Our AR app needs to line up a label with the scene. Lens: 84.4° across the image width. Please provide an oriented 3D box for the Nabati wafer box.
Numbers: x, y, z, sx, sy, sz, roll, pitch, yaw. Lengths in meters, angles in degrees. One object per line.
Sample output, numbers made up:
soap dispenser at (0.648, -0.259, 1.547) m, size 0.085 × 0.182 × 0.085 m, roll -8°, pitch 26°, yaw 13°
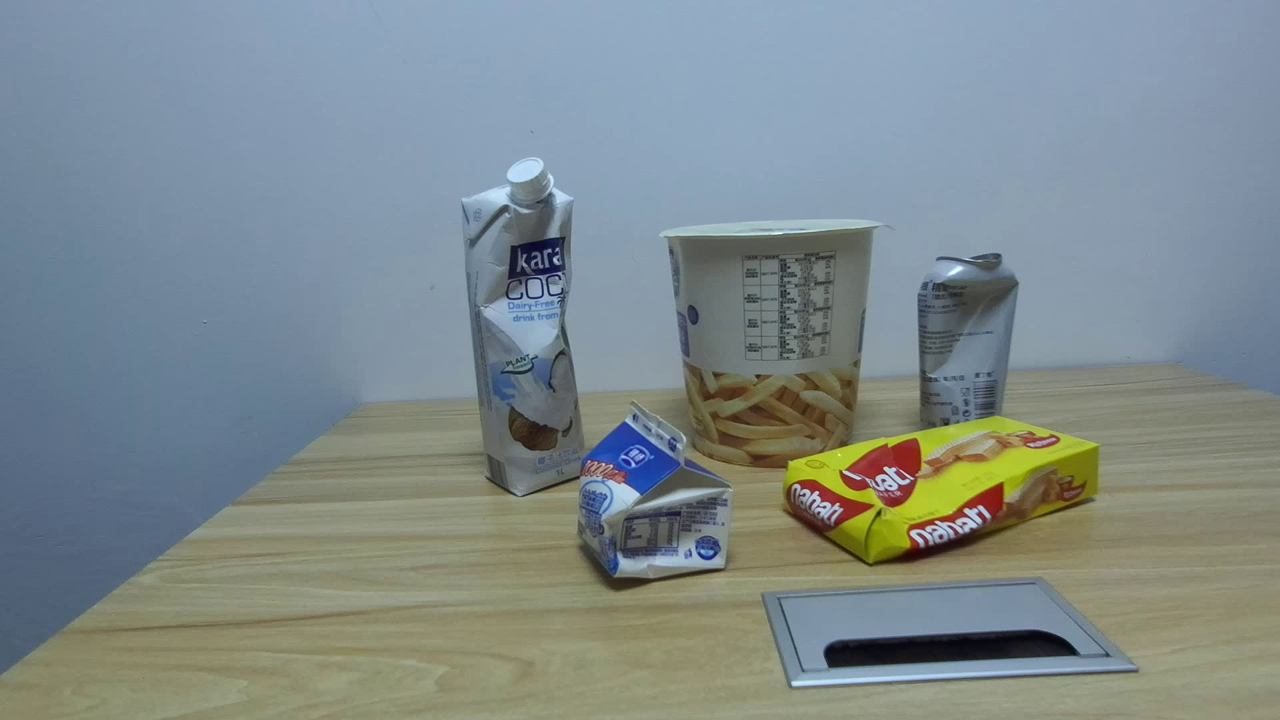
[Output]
Nabati wafer box at (0.211, 0.086, 0.494) m, size 0.205 × 0.042 × 0.106 m, roll -8°, pitch 12°, yaw -20°

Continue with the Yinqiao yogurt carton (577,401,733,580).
Yinqiao yogurt carton at (0.006, 0.079, 0.438) m, size 0.080 × 0.097 × 0.074 m, roll -2°, pitch 11°, yaw -26°

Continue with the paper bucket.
paper bucket at (0.114, -0.021, 0.632) m, size 0.198 × 0.194 × 0.198 m, roll -3°, pitch 13°, yaw 1°

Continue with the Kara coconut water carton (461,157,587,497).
Kara coconut water carton at (-0.093, -0.026, 0.564) m, size 0.083 × 0.255 × 0.078 m, roll -8°, pitch 15°, yaw -24°
